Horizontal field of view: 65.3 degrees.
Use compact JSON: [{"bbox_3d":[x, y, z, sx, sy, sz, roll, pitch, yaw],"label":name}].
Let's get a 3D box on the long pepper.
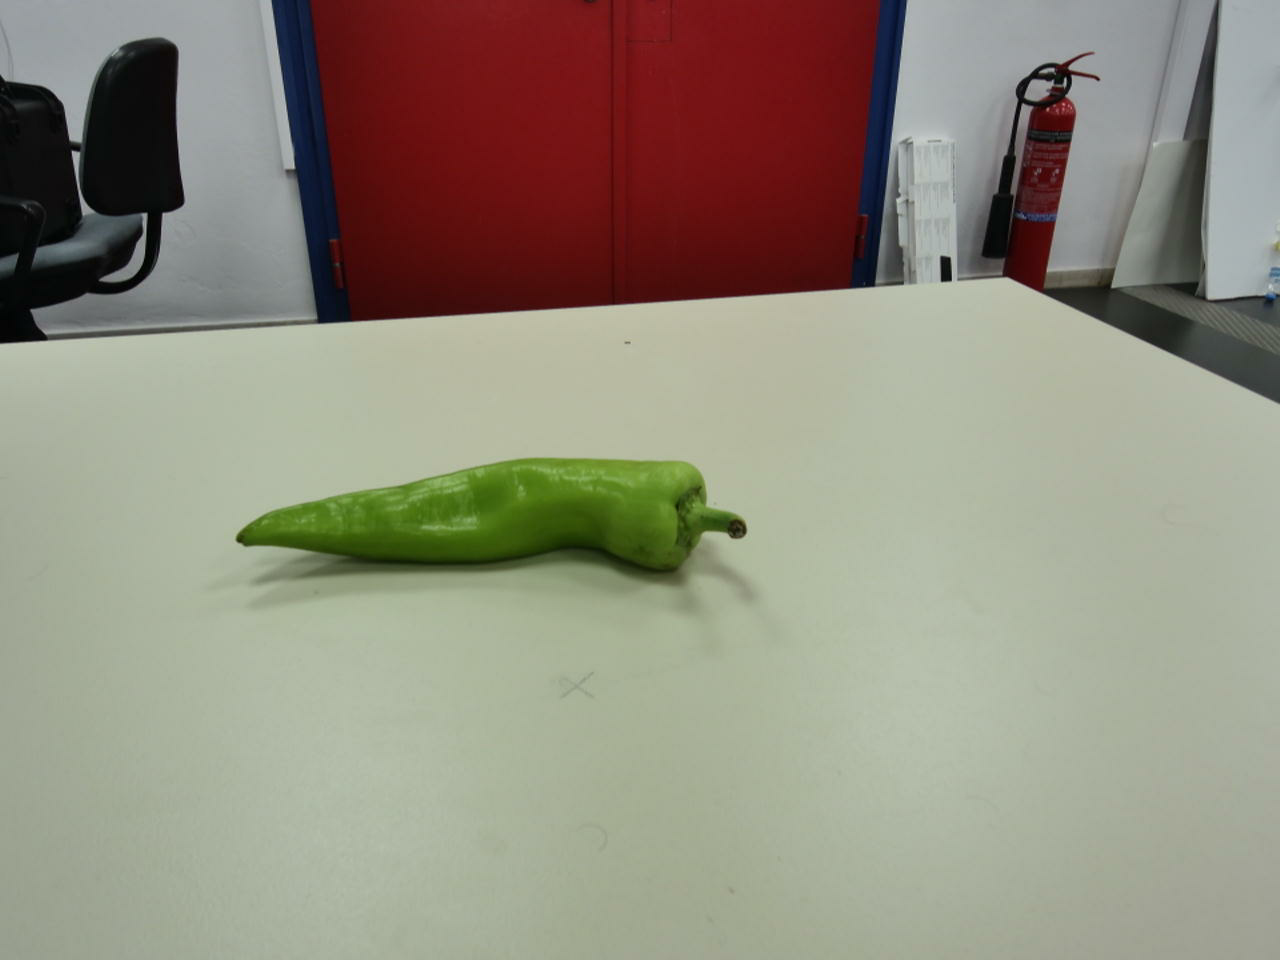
[{"bbox_3d":[-0.058,0.013,0.422,0.205,0.045,0.065,1,24,3],"label":"long pepper"}]
